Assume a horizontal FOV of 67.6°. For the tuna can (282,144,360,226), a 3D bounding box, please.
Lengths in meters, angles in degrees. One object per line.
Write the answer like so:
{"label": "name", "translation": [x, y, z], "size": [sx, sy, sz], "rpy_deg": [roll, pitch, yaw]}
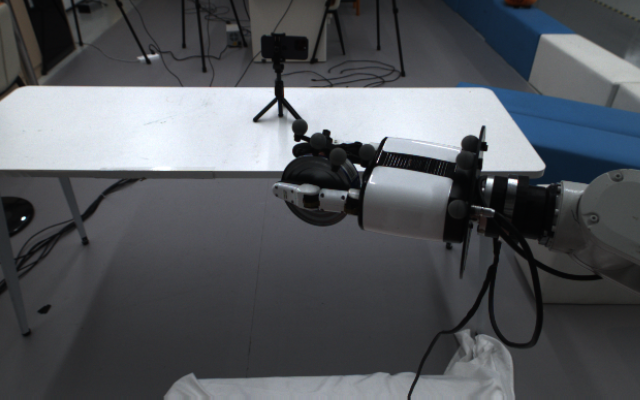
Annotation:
{"label": "tuna can", "translation": [0.003, -0.016, 0.547], "size": [0.085, 0.085, 0.034], "rpy_deg": [15, 28, 18]}
